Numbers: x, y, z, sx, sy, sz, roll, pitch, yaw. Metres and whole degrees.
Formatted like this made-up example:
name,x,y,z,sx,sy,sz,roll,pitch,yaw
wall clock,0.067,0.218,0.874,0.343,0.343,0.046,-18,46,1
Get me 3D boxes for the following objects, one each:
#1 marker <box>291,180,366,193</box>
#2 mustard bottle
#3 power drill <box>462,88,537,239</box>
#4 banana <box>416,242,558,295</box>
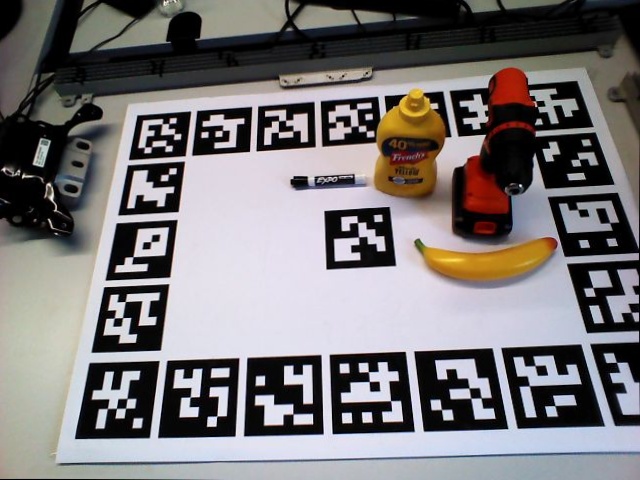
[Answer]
name,x,y,z,sx,sy,sz,roll,pitch,yaw
marker,0.013,-0.087,0.835,0.121,0.020,0.019,-1,64,6
mustard bottle,0.132,-0.124,0.744,0.096,0.192,0.058,8,64,8
power drill,0.236,-0.080,0.692,0.057,0.187,0.183,10,62,9
banana,0.235,0.042,0.737,0.198,0.039,0.074,4,65,10
